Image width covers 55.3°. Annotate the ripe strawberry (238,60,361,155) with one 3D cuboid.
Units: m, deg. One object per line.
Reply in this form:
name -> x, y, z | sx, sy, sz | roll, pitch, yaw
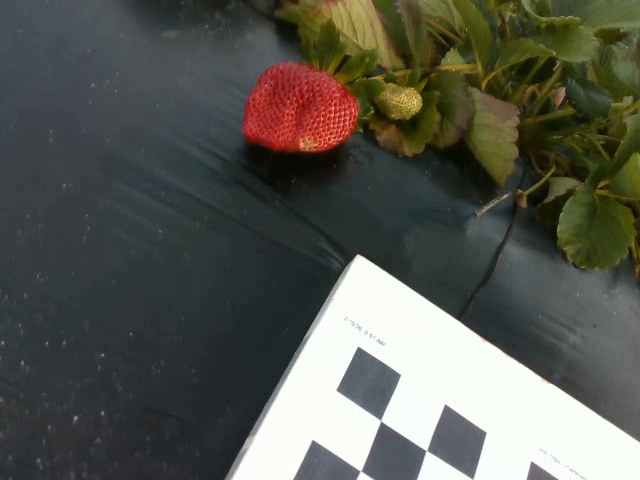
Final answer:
ripe strawberry -> -0.013, -0.071, 0.330 | 0.067, 0.075, 0.039 | 35, -32, 4
